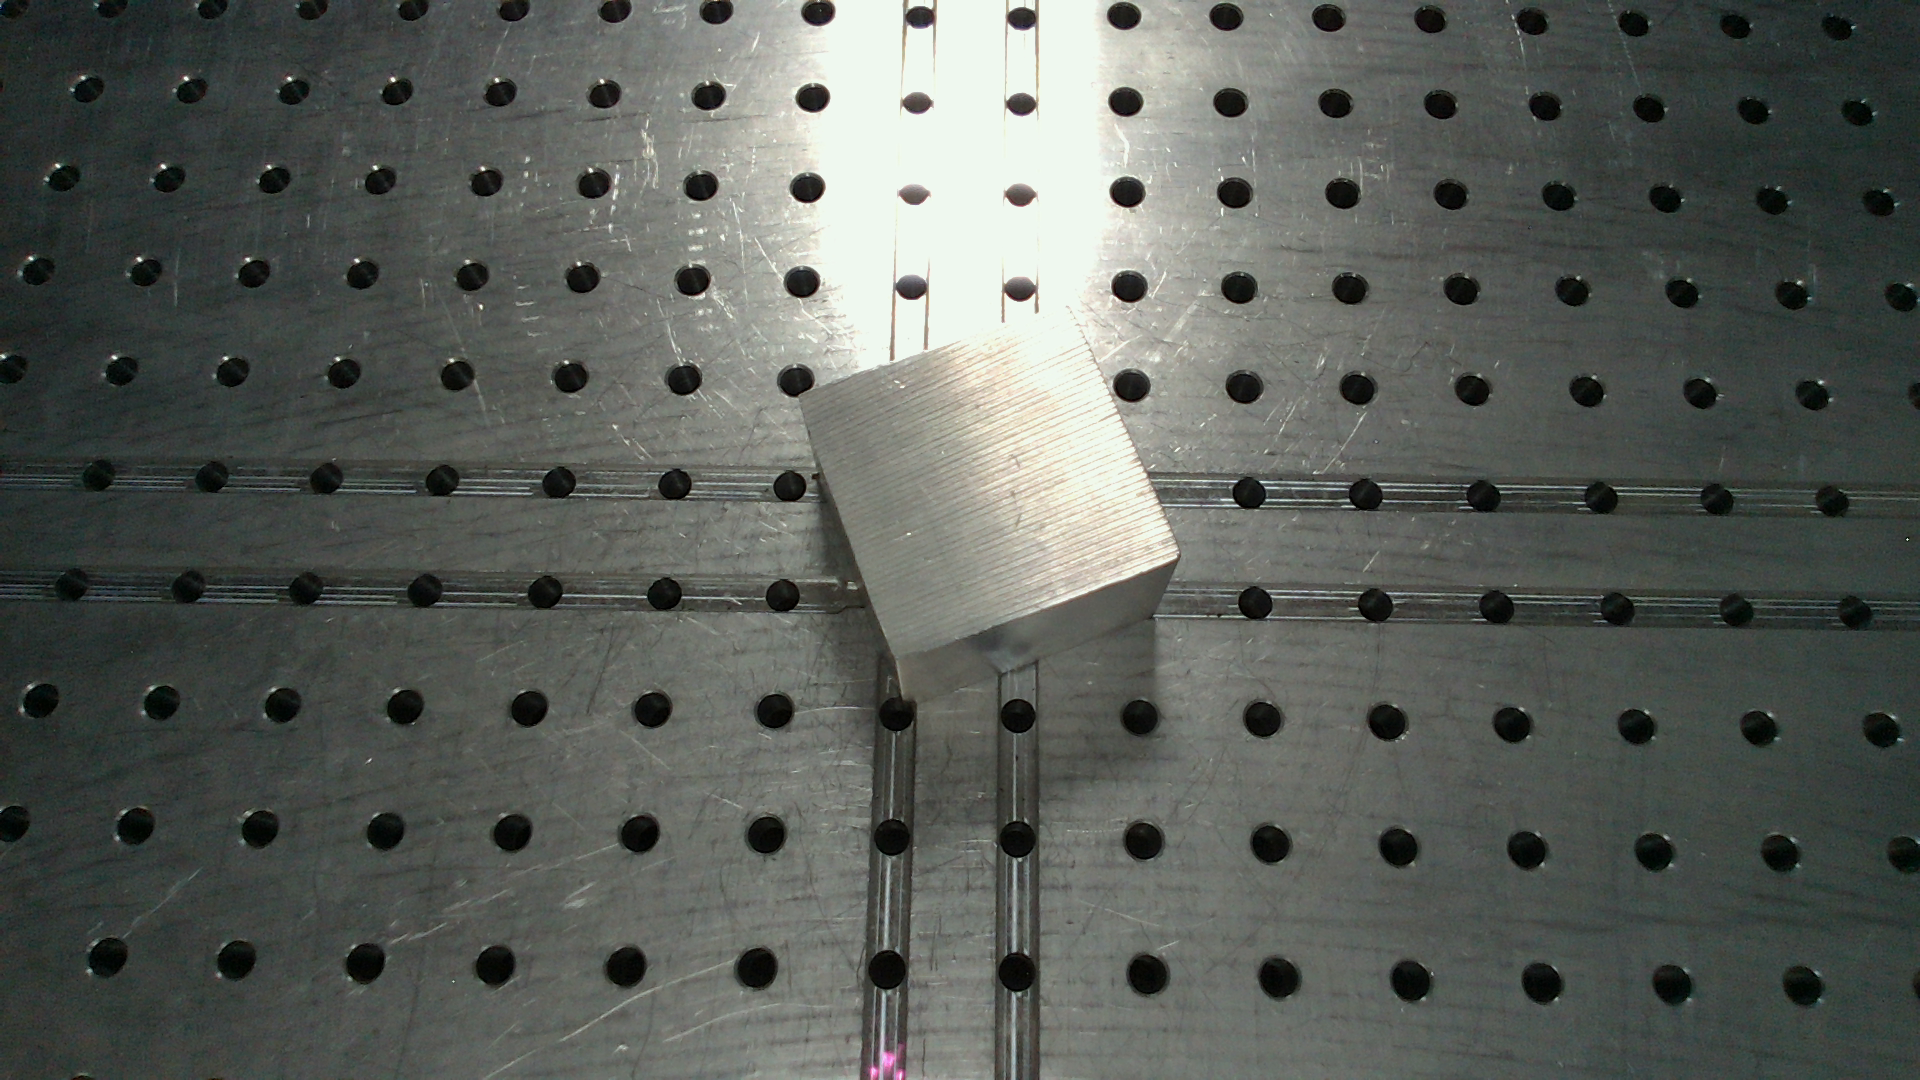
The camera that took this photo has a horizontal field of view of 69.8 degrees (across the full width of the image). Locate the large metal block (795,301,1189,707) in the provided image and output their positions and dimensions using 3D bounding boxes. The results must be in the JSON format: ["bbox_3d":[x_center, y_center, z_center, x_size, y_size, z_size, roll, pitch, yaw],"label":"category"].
[{"bbox_3d":[0.007,-0.009,0.384,0.080,0.050,0.080,-20,71,-7],"label":"large metal block"}]
